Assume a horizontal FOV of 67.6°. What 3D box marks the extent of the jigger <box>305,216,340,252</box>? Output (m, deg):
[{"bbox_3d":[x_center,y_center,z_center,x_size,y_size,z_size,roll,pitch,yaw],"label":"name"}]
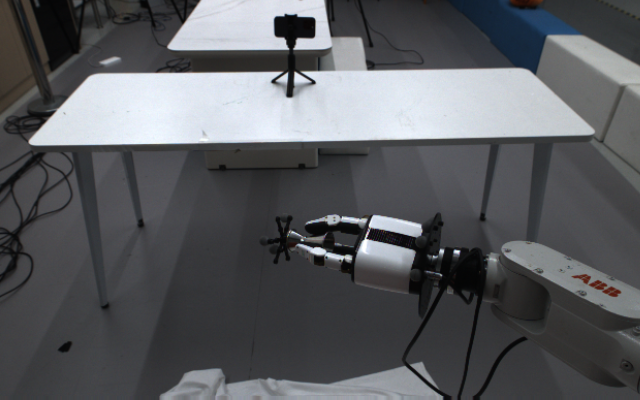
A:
[{"bbox_3d":[-0.008,0.062,0.789,0.071,0.043,0.043,3,32,25],"label":"jigger"}]
